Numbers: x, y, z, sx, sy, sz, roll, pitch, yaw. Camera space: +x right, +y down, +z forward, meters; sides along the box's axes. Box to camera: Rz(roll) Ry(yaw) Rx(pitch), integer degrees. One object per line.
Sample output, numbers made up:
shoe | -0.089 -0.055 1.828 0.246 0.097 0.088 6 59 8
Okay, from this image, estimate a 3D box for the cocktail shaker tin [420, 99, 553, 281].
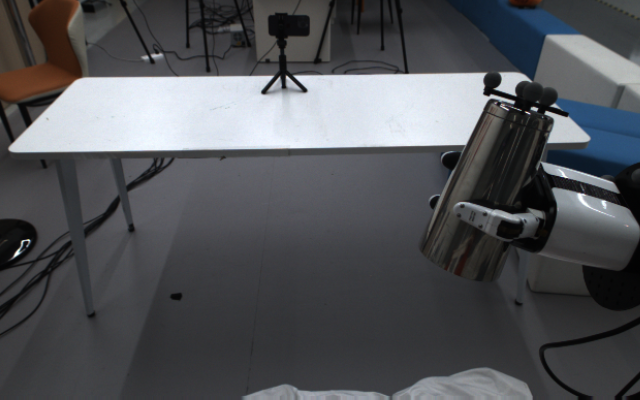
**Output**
cocktail shaker tin | 0.177 -0.013 0.506 0.093 0.170 0.093 14 19 -5
